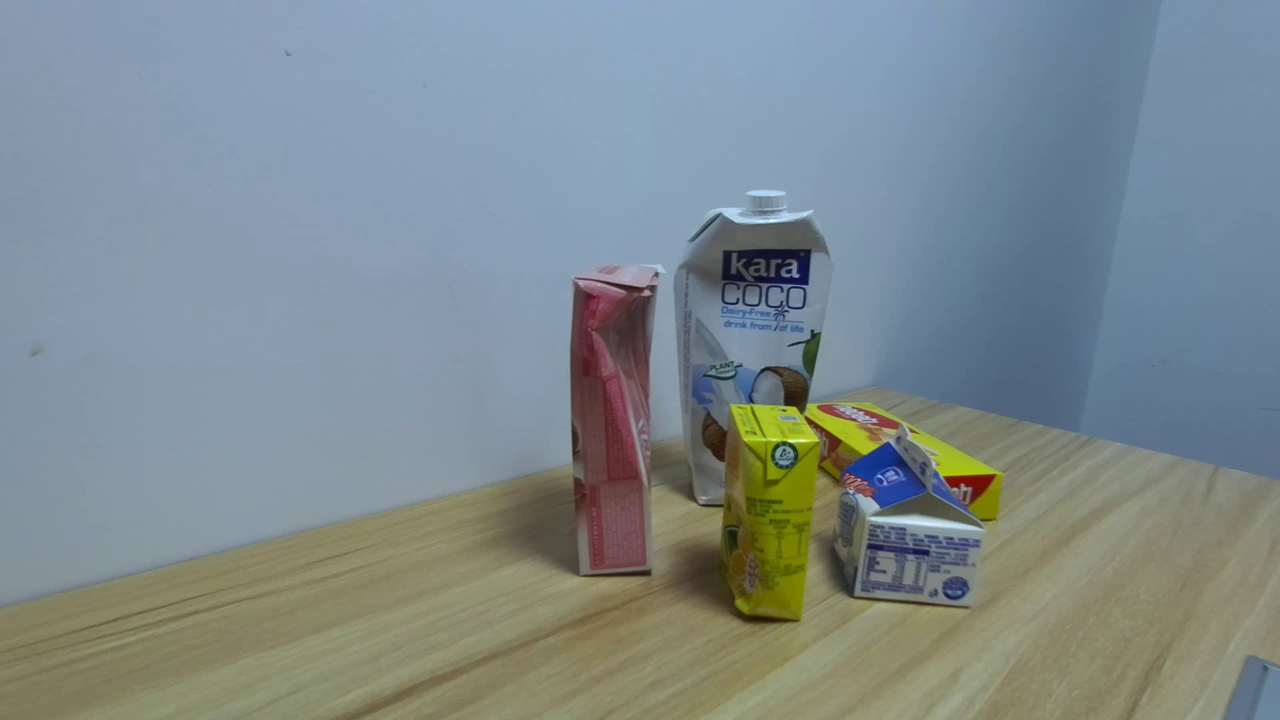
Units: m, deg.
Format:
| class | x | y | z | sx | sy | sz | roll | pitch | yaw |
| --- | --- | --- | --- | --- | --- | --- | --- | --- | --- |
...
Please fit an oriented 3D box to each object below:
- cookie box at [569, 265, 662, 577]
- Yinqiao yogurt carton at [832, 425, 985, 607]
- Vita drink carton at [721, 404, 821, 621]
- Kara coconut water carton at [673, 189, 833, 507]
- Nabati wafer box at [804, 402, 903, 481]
| class | x | y | z | sx | sy | sz | roll | pitch | yaw |
| --- | --- | --- | --- | --- | --- | --- | --- | --- | --- |
| cookie box | -0.012 | 0.035 | 0.451 | 0.055 | 0.184 | 0.118 | 3 | 12 | 2 |
| Yinqiao yogurt carton | 0.167 | 0.093 | 0.441 | 0.074 | 0.092 | 0.075 | 4 | 14 | 4 |
| Vita drink carton | 0.072 | 0.086 | 0.405 | 0.043 | 0.109 | 0.076 | 2 | 13 | 1 |
| Kara coconut water carton | 0.082 | -0.008 | 0.543 | 0.115 | 0.238 | 0.069 | 3 | 15 | -1 |
| Nabati wafer box | 0.212 | 0.083 | 0.624 | 0.093 | 0.042 | 0.202 | 0 | 13 | -14 |
